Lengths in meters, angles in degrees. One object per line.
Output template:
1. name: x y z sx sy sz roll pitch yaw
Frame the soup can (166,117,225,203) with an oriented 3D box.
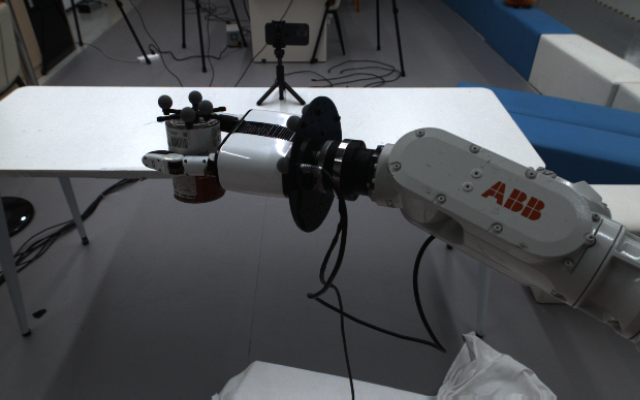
1. soup can: -0.157 -0.054 0.618 0.067 0.101 0.067 1 25 0
